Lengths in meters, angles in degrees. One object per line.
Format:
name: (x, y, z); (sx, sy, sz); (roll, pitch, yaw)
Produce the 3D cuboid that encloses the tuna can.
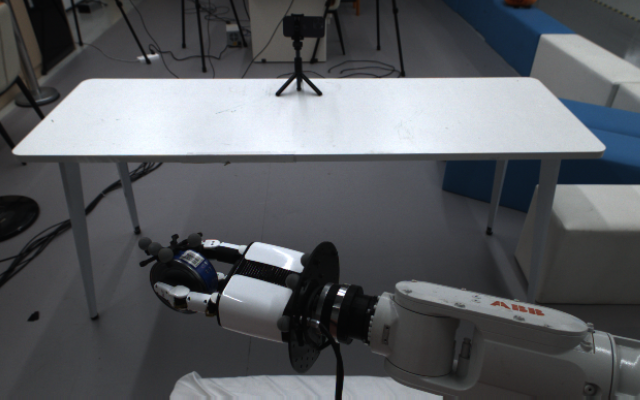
tuna can: (-0.173, 0.109, 0.640); (0.085, 0.085, 0.034); (13, 28, 15)
